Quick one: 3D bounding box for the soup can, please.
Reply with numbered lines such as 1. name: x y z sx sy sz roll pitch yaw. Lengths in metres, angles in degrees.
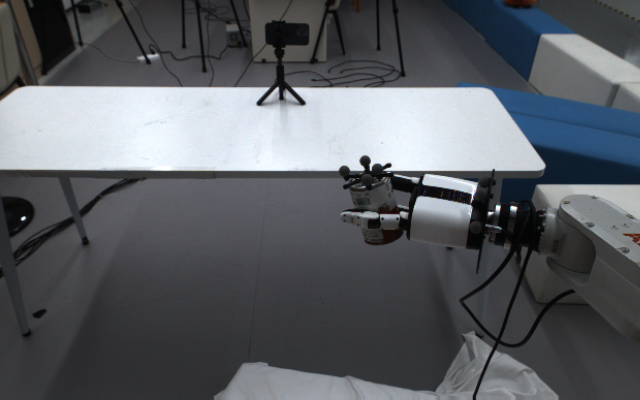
1. soup can: 0.090 0.012 0.768 0.067 0.101 0.067 -16 23 7
